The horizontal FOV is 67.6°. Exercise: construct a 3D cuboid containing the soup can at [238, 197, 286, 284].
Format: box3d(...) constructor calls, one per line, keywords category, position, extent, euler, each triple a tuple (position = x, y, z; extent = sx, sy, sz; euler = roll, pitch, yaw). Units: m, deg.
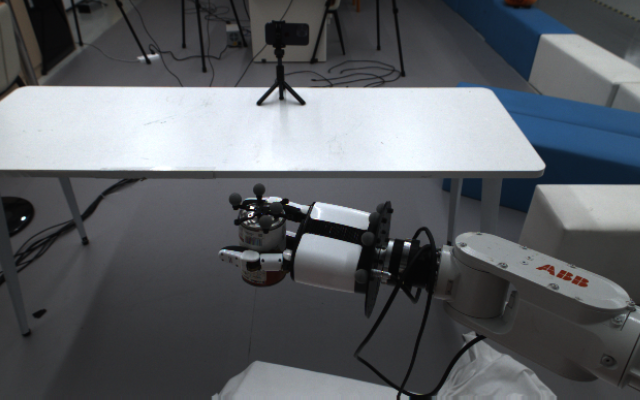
box3d(category="soup can", position=(-0.079, 0.064, 0.683), extent=(0.067, 0.101, 0.067), euler=(2, 32, -1))
